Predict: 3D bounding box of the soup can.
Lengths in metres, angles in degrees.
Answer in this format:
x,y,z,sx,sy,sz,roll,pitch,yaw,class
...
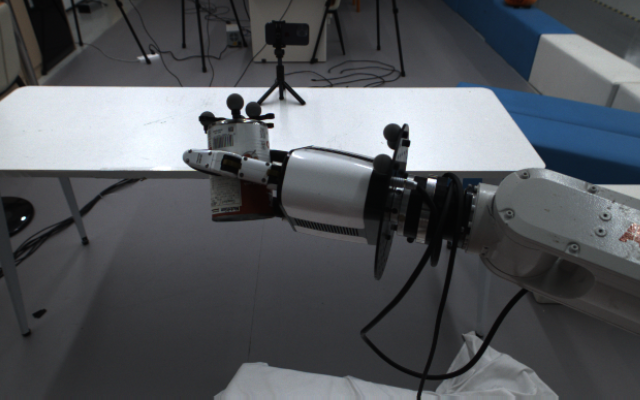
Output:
x,y,z,sx,sy,sz,roll,pitch,yaw,class
-0.083,-0.029,0.523,0.067,0.101,0.067,-5,-5,0,soup can
